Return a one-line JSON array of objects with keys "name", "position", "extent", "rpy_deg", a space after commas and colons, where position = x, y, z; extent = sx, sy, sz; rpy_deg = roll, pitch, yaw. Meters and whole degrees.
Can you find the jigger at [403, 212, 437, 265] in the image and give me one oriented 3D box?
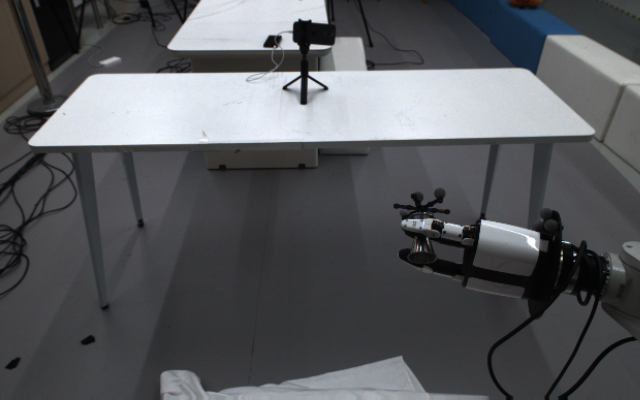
[{"name": "jigger", "position": [0.155, 0.057, 0.742], "extent": [0.043, 0.043, 0.071], "rpy_deg": [4, 61, 3]}]
